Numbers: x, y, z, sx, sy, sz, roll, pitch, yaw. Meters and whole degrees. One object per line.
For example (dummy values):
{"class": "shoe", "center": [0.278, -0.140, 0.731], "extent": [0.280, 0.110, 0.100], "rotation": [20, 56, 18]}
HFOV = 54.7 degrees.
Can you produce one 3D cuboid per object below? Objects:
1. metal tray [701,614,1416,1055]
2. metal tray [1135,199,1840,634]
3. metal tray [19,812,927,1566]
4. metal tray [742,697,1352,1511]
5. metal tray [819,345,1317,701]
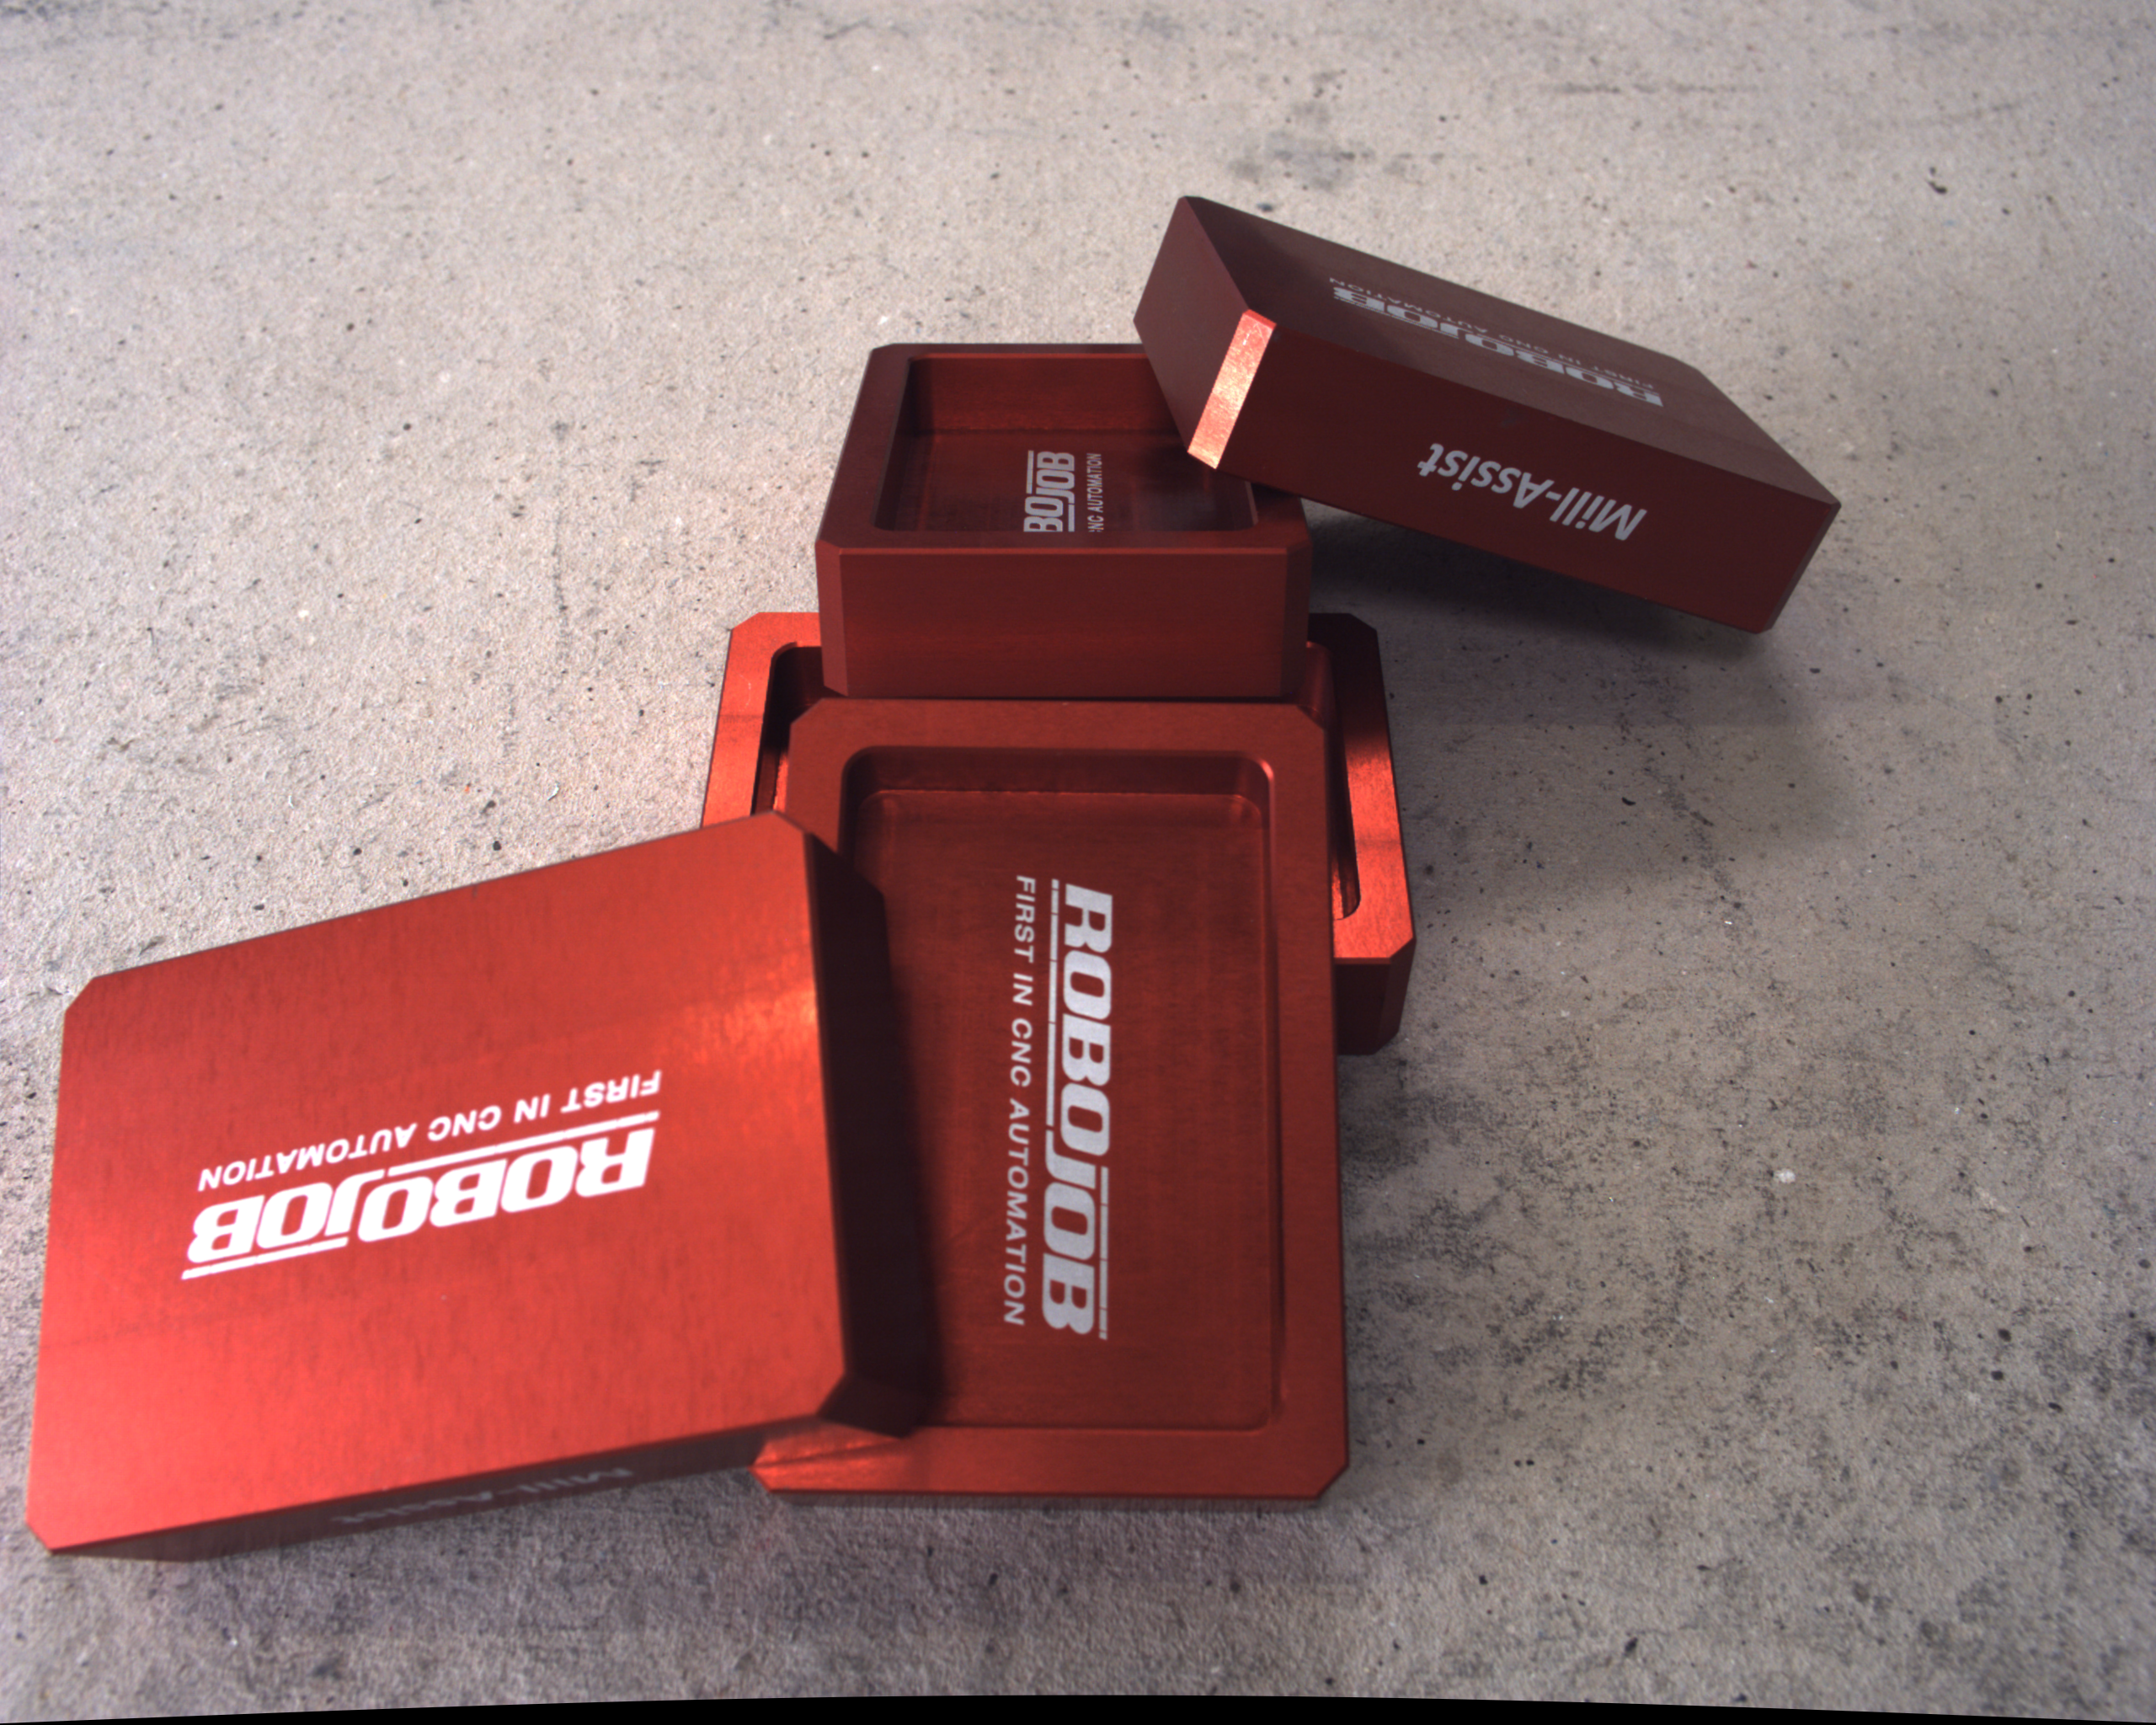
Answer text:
{"class": "metal tray", "center": [-0.005, -0.007, 0.408], "extent": [0.131, 0.030, 0.090], "rotation": [0, 50, 0]}
{"class": "metal tray", "center": [0.082, -0.096, 0.441], "extent": [0.131, 0.030, 0.090], "rotation": [14, 29, -15]}
{"class": "metal tray", "center": [-0.093, 0.051, 0.319], "extent": [0.130, 0.030, 0.090], "rotation": [-13, 66, 12]}
{"class": "metal tray", "center": [-0.004, 0.038, 0.343], "extent": [0.091, 0.030, 0.130], "rotation": [1, 69, 1]}
{"class": "metal tray", "center": [-0.002, -0.075, 0.438], "extent": [0.091, 0.030, 0.130], "rotation": [0, 30, 0]}
